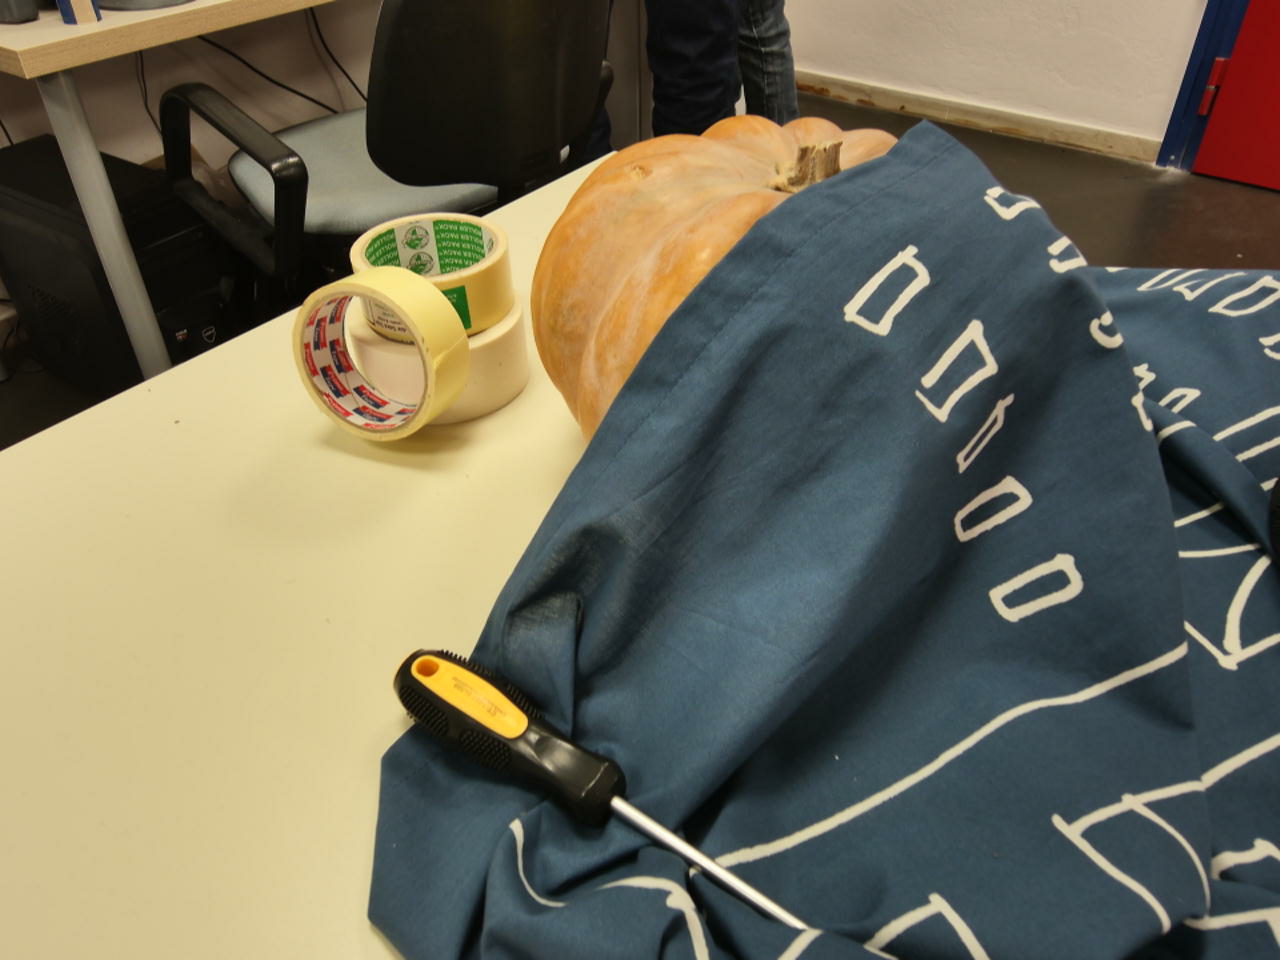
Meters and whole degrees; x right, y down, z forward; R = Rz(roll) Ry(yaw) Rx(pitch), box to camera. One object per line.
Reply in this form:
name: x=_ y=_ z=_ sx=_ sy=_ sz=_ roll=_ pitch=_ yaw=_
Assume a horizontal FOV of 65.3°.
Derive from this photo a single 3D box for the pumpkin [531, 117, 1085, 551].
pumpkin: x=0.077 y=-0.082 z=0.511 sx=0.277 sy=0.181 sz=0.277 roll=0 pitch=37 yaw=0
